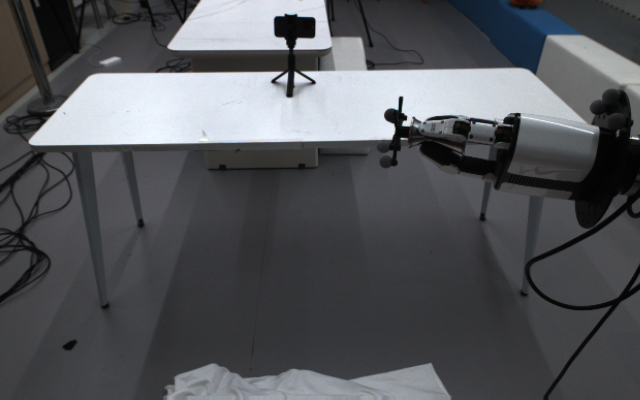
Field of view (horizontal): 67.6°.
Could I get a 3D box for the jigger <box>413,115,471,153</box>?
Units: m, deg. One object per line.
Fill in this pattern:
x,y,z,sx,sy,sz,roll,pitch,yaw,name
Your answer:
0.154,-0.085,0.602,0.071,0.043,0.043,7,35,16,jigger
